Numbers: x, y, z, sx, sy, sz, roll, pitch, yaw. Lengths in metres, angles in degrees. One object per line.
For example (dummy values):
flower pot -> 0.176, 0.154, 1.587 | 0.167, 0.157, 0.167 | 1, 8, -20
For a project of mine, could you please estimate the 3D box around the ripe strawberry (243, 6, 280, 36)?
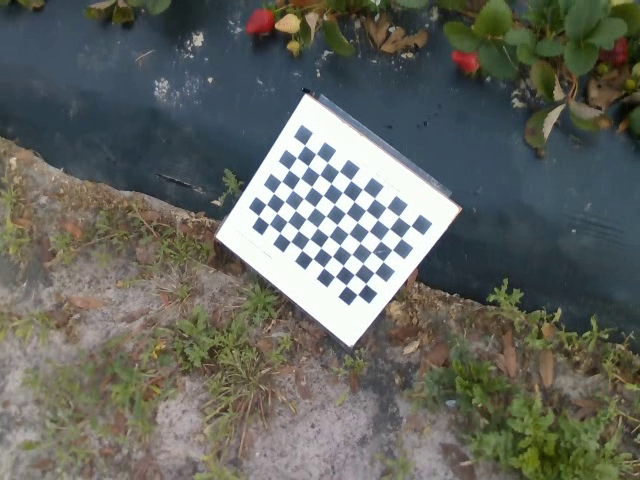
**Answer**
ripe strawberry -> -0.096, -0.339, 1.255 | 0.050, 0.059, 0.033 | 27, -32, 18
